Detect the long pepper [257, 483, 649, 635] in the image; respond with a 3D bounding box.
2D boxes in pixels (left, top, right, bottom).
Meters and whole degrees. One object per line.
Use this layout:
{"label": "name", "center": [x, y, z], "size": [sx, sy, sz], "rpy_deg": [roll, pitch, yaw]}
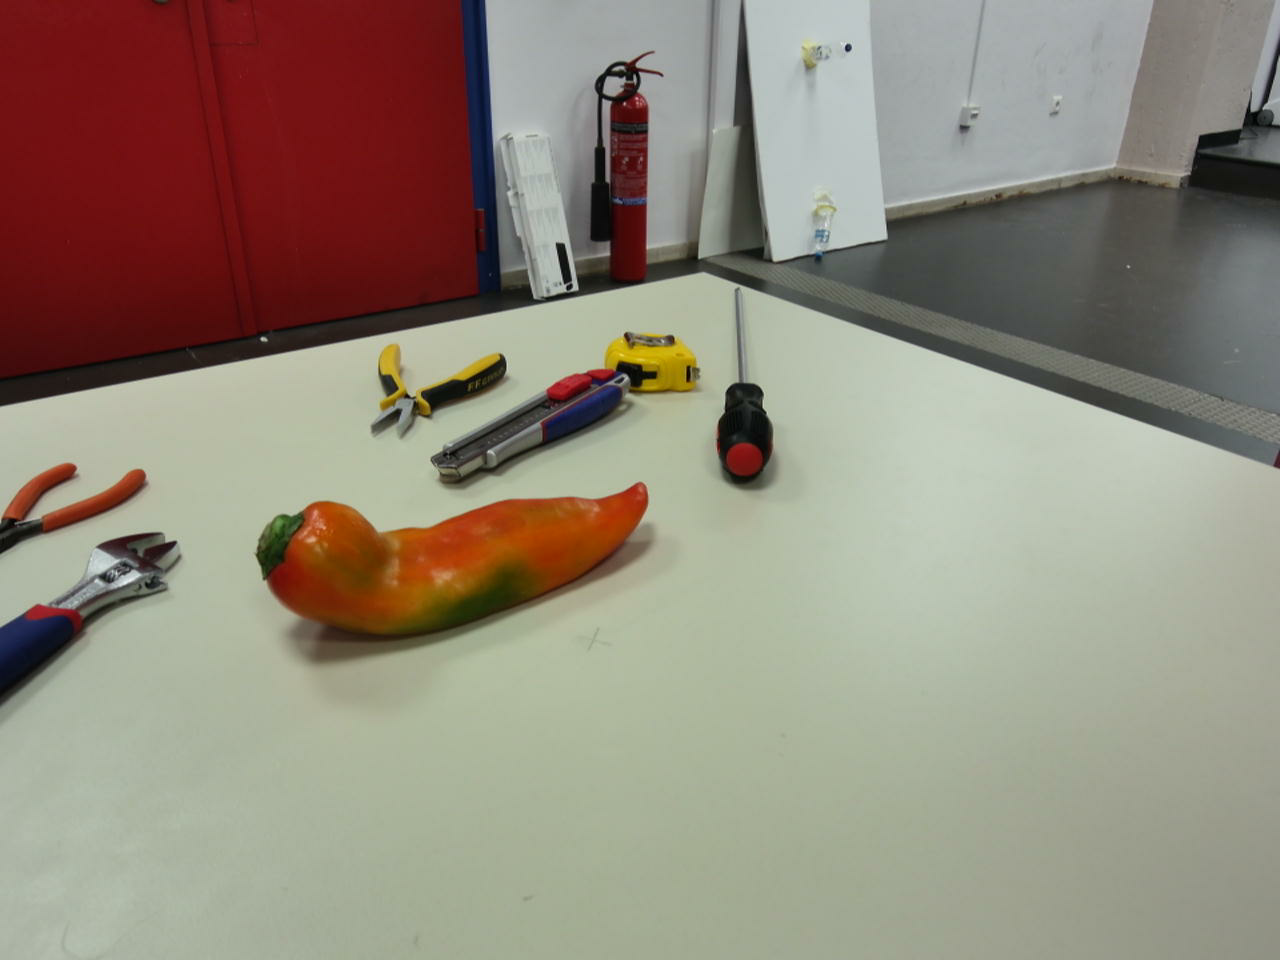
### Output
{"label": "long pepper", "center": [-0.077, 0.025, 0.480], "size": [0.199, 0.065, 0.066], "rpy_deg": [-15, 29, -29]}
